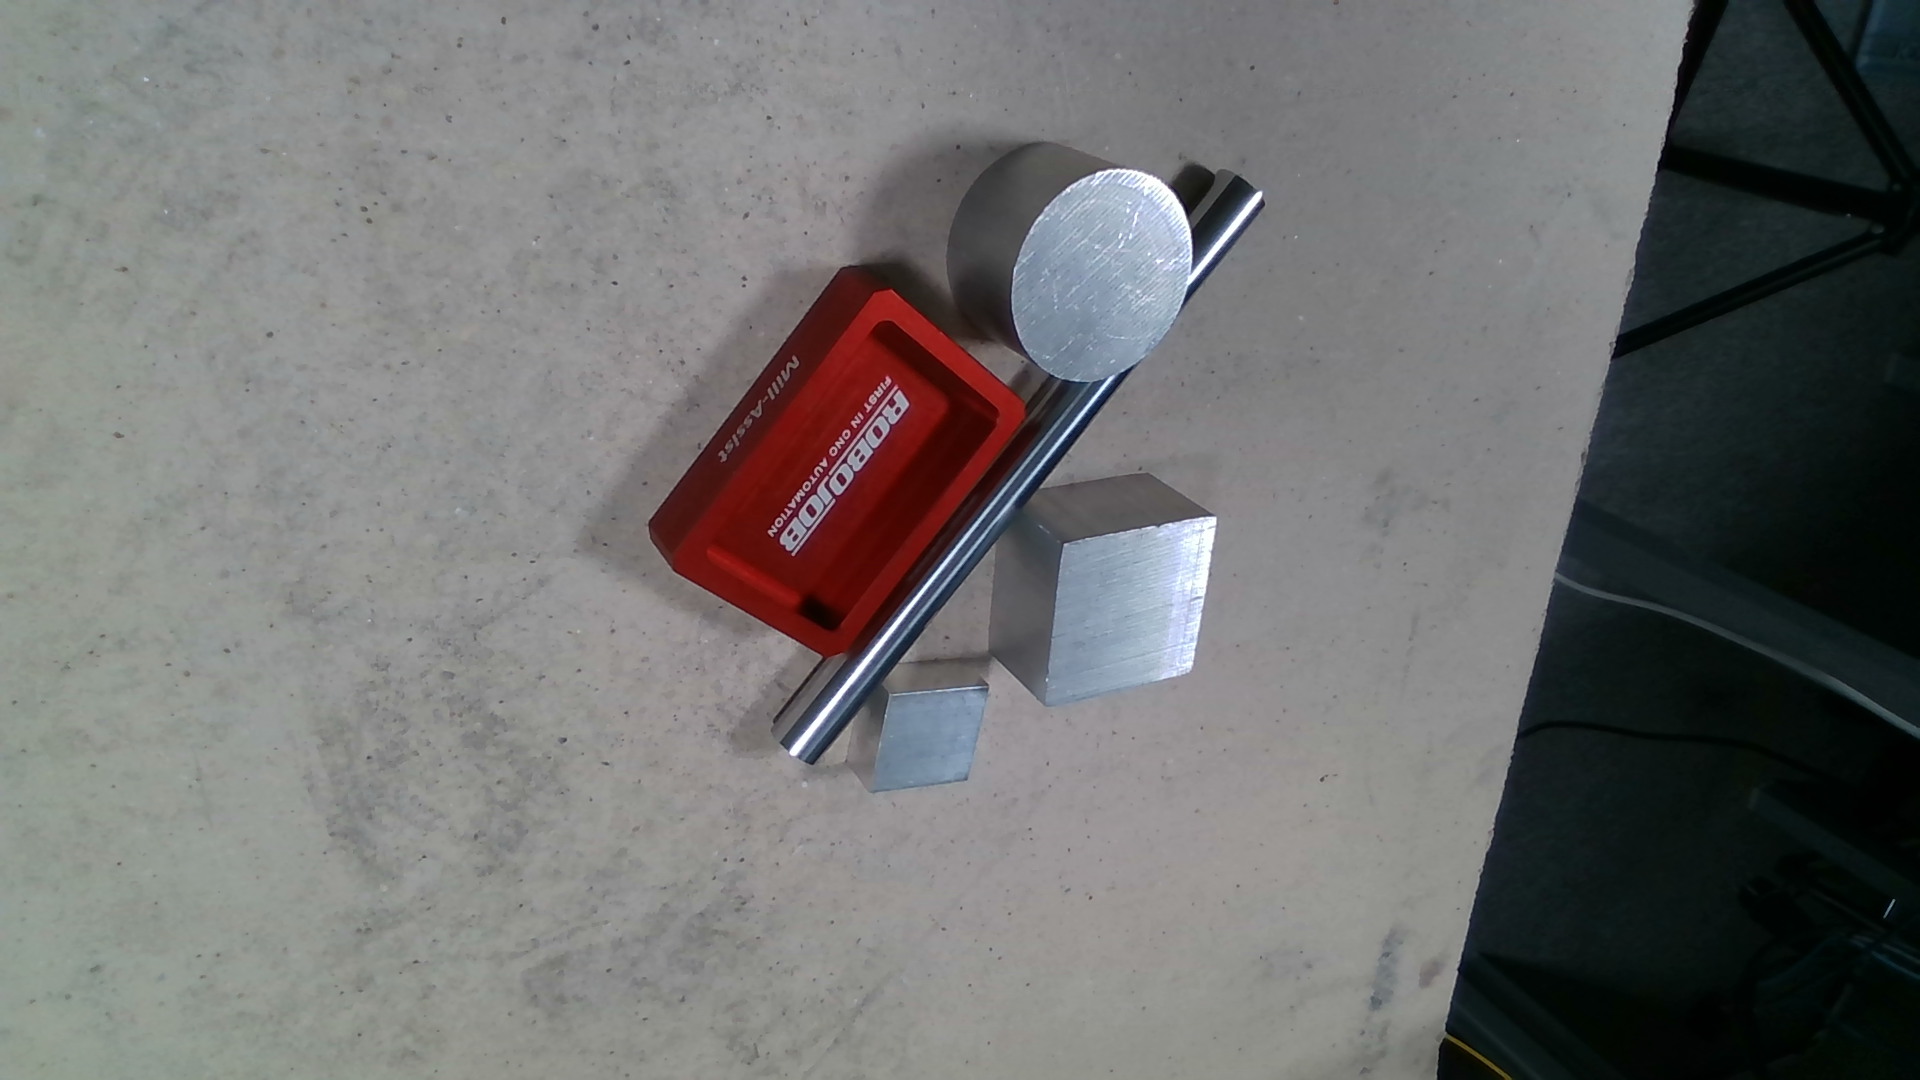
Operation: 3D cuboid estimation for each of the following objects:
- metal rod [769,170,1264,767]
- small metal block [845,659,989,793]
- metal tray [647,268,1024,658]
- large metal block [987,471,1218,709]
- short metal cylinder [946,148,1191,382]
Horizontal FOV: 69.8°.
[{"bbox_3d":[0.023,-0.029,0.579,0.300,0.025,0.025,-51,129,2],"label":"metal rod"},{"bbox_3d":[-0.019,0.082,0.614,0.050,0.025,0.050,-2,116,-31],"label":"small metal block"},{"bbox_3d":[-0.046,-0.028,0.534,0.090,0.030,0.130,35,94,-39],"label":"metal tray"},{"bbox_3d":[0.062,0.021,0.614,0.080,0.050,0.080,-10,120,-27],"label":"large metal block"},{"bbox_3d":[0.042,-0.107,0.532,0.080,0.050,0.080,-14,122,-25],"label":"short metal cylinder"}]
